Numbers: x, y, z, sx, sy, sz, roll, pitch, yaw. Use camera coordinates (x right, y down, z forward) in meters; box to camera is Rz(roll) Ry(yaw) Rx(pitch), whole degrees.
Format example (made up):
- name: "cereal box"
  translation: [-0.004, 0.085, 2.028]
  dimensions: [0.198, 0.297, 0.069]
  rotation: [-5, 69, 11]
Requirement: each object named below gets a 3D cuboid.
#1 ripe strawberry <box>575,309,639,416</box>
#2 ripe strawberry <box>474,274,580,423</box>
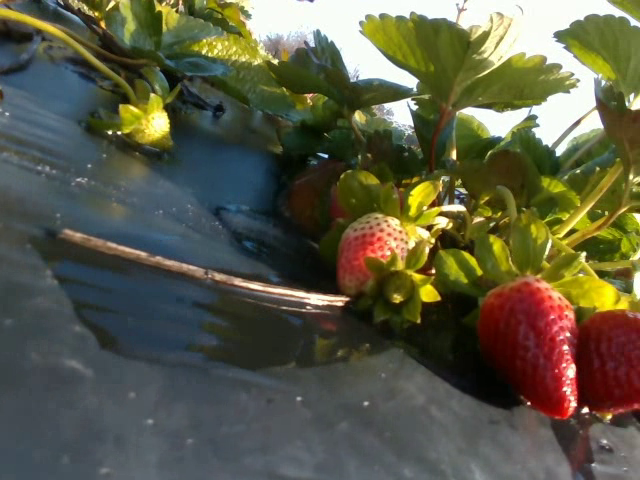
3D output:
- name: "ripe strawberry"
  translation: [0.091, 0.033, 0.172]
  dimensions: [0.031, 0.037, 0.039]
  rotation: [28, -12, -17]
- name: "ripe strawberry"
  translation: [0.063, 0.029, 0.165]
  dimensions: [0.032, 0.046, 0.023]
  rotation: [19, -50, -23]
